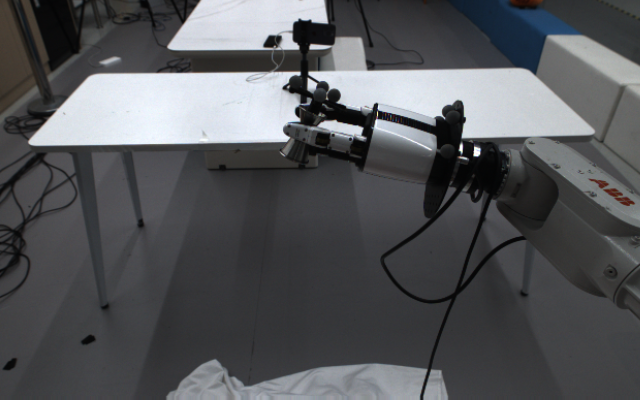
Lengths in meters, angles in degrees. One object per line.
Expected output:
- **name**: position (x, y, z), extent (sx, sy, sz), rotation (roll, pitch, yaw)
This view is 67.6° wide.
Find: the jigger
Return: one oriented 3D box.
- **jigger**: position (-0.024, -0.088, 0.643), extent (0.043, 0.071, 0.043), rotation (23, 19, -8)
